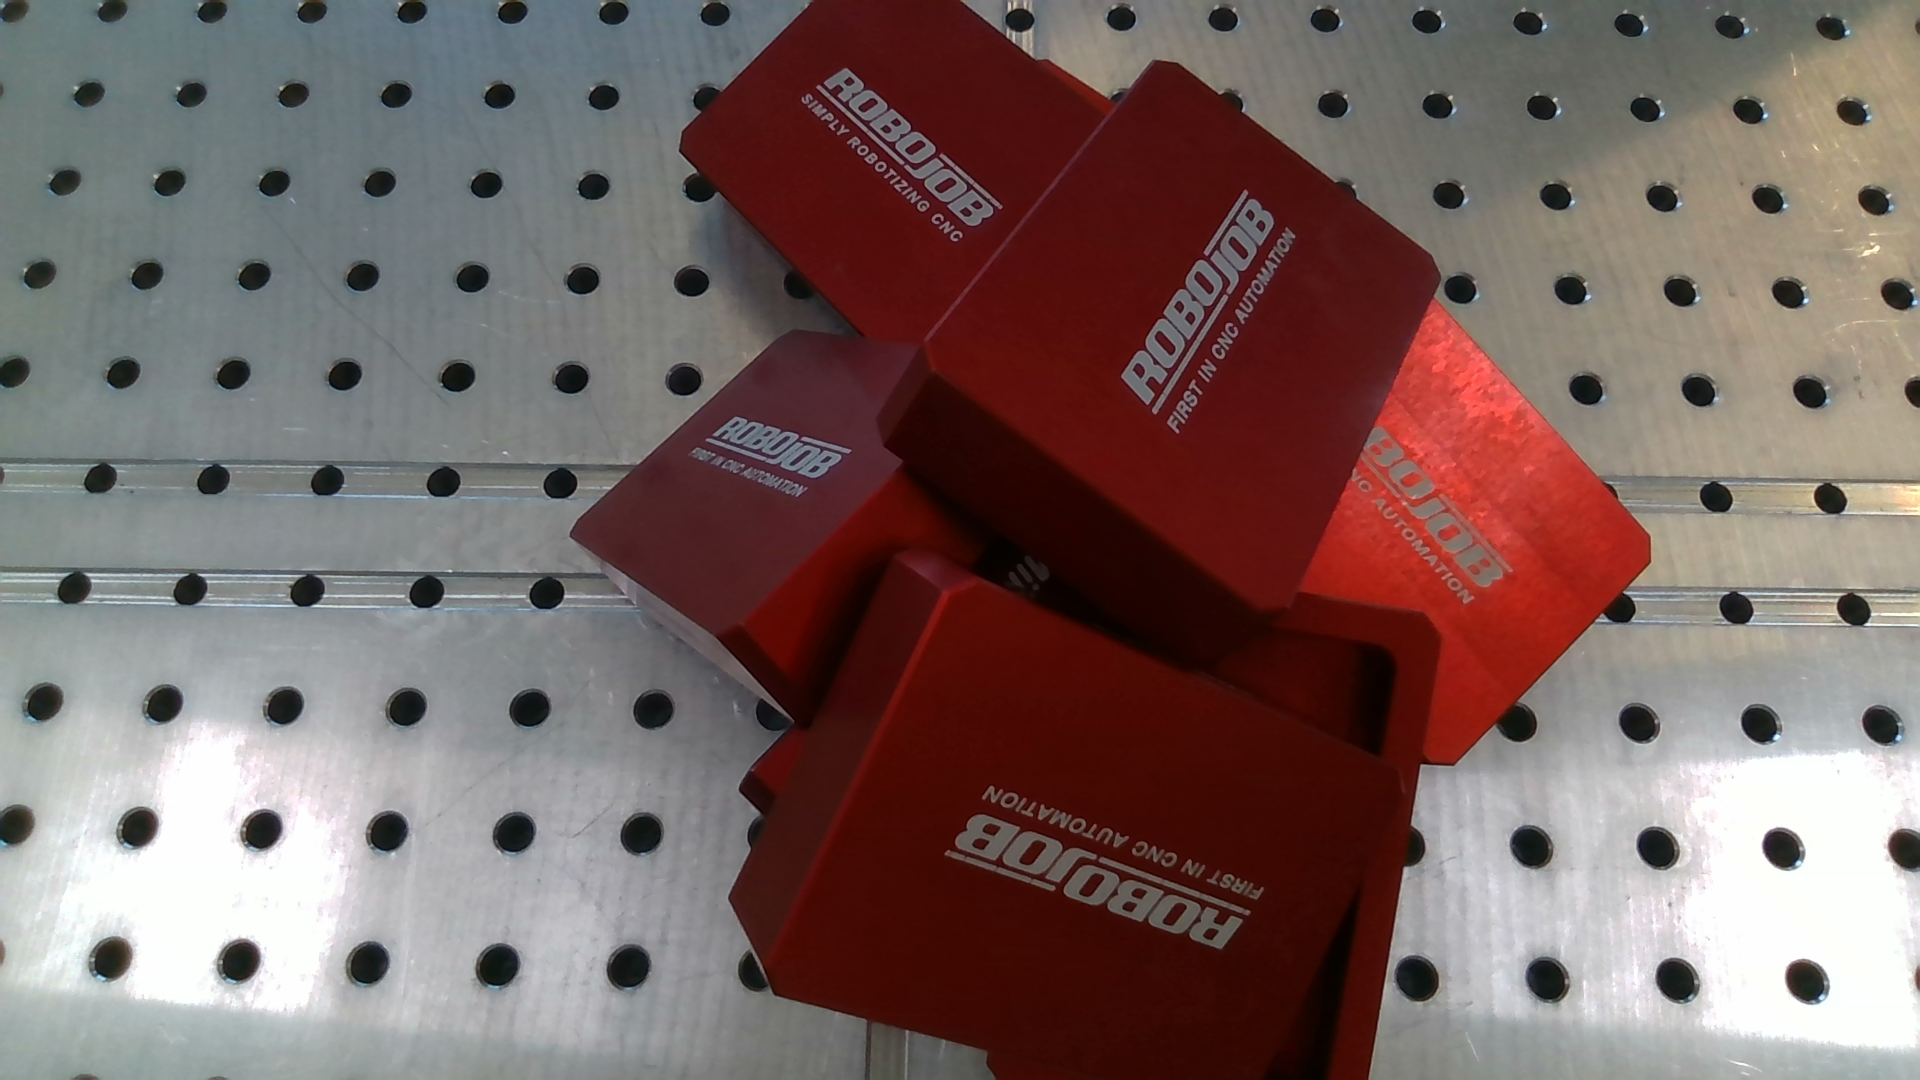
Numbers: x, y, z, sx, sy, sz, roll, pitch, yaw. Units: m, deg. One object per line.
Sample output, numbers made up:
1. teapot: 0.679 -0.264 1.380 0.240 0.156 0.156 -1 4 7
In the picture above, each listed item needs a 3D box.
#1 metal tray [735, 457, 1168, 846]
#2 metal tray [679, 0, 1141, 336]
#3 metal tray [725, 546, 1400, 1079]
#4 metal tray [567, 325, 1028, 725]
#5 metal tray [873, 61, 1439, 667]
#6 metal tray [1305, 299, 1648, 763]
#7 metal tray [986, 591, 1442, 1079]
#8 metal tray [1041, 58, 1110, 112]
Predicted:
1. metal tray: 0.006 0.035 0.352 0.030 0.090 0.130 43 75 14
2. metal tray: -0.013 -0.108 0.409 0.090 0.030 0.130 -44 64 2
3. metal tray: 0.026 0.067 0.304 0.130 0.030 0.090 25 93 -27
4. metal tray: -0.043 -0.012 0.353 0.090 0.130 0.030 -45 118 -14
5. metal tray: 0.051 -0.046 0.318 0.090 0.030 0.130 36 54 -2
6. metal tray: 0.112 -0.015 0.380 0.090 0.030 0.130 -42 90 -11
7. metal tray: 0.061 0.075 0.345 0.090 0.030 0.130 10 91 3
8. metal tray: 0.047 -0.079 0.423 0.130 0.030 0.090 37 75 12
